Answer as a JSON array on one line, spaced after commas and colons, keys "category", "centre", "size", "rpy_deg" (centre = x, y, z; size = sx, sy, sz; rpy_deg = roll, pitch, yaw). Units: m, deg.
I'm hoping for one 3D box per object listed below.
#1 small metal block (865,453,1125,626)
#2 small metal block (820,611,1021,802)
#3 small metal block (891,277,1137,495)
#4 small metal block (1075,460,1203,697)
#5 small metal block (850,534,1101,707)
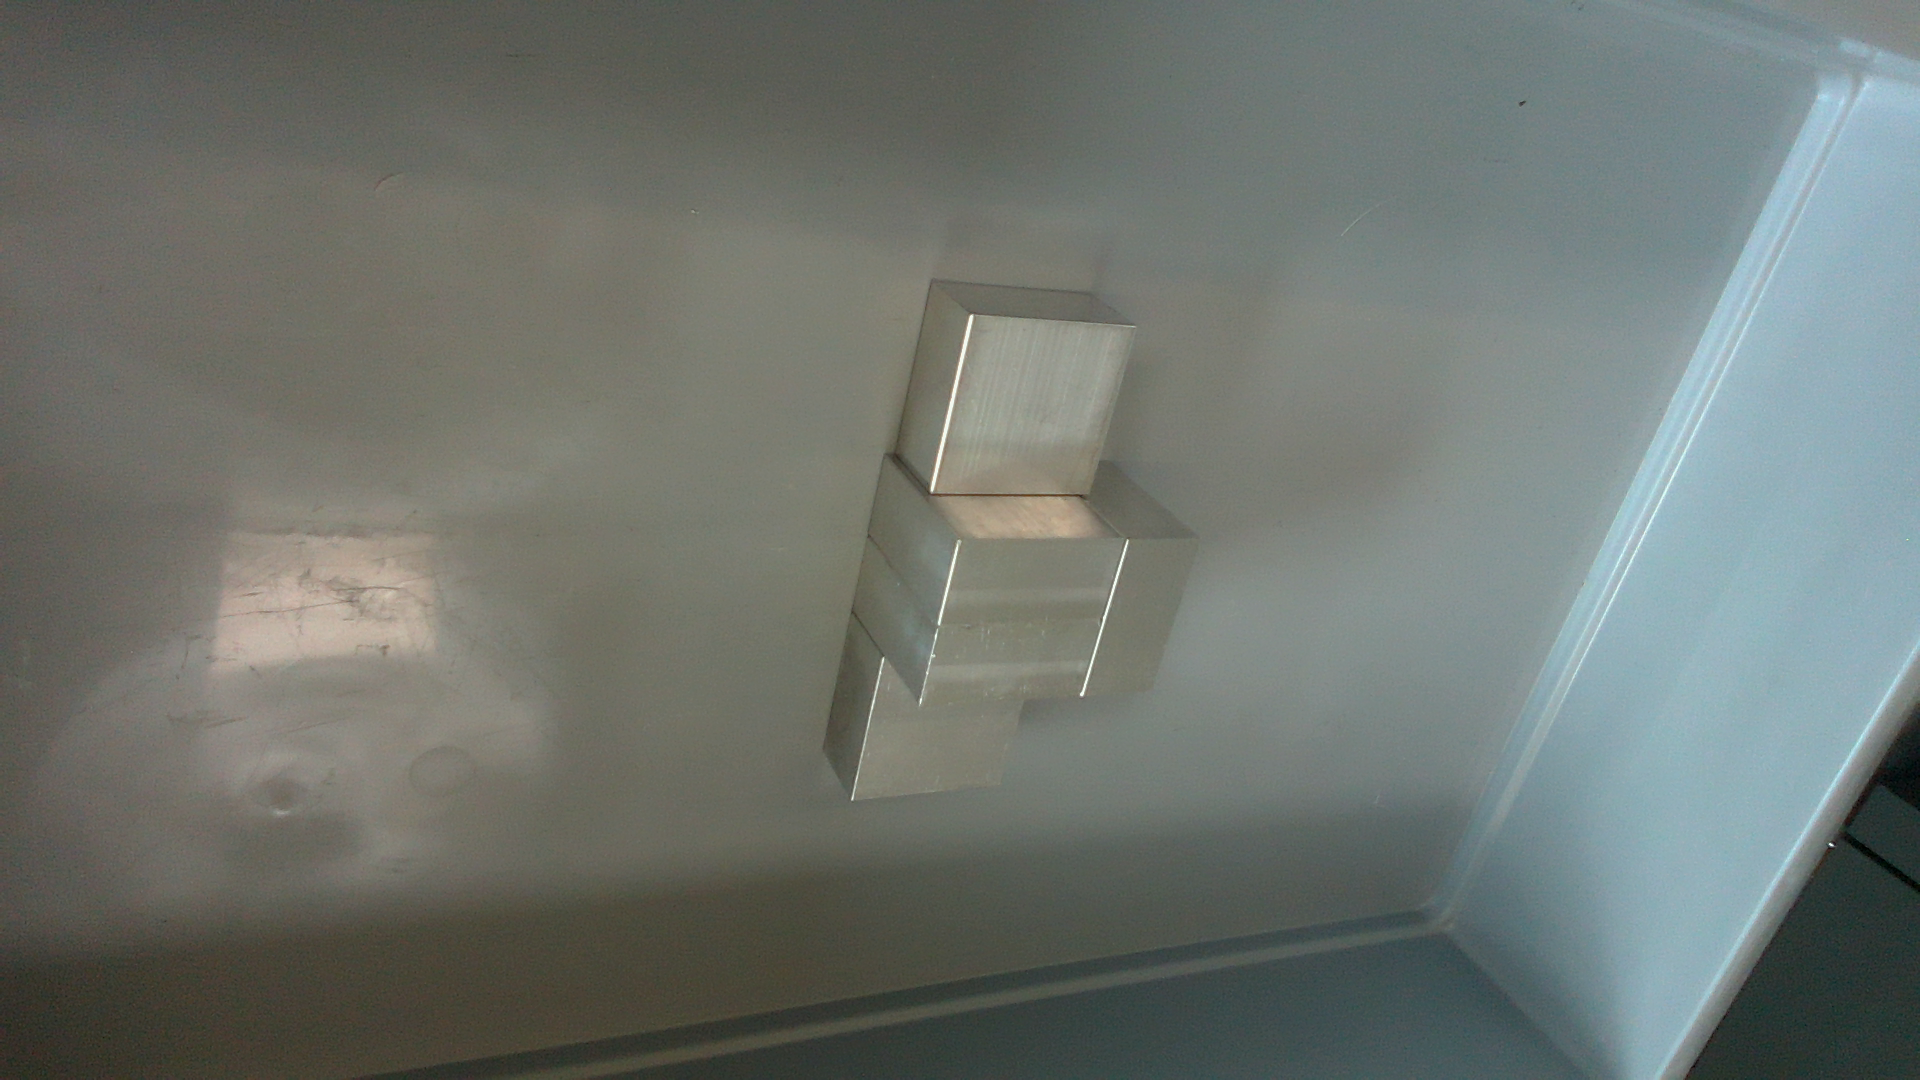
[{"category": "small metal block", "centre": [0.008, -0.001, 0.375], "size": [0.050, 0.050, 0.025], "rpy_deg": [0, 119, -28]}, {"category": "small metal block", "centre": [-0.010, 0.048, 0.411], "size": [0.050, 0.025, 0.050], "rpy_deg": [0, 119, -28]}, {"category": "small metal block", "centre": [0.014, -0.040, 0.370], "size": [0.050, 0.025, 0.050], "rpy_deg": [0, 119, -28]}, {"category": "small metal block", "centre": [0.039, 0.010, 0.399], "size": [0.025, 0.050, 0.050], "rpy_deg": [0, 119, -28]}, {"category": "small metal block", "centre": [0.003, 0.021, 0.386], "size": [0.050, 0.050, 0.025], "rpy_deg": [0, 119, -28]}]
